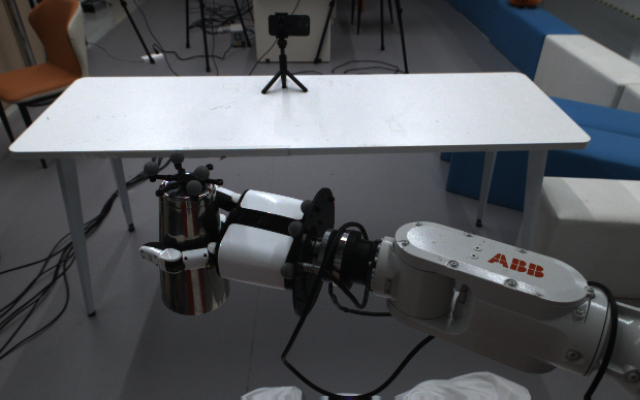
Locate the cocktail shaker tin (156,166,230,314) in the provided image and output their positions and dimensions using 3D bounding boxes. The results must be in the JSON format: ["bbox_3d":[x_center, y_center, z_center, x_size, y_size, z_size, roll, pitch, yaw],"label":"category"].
[{"bbox_3d":[-0.164,0.054,0.623,0.093,0.170,0.093,3,32,-2],"label":"cocktail shaker tin"}]
